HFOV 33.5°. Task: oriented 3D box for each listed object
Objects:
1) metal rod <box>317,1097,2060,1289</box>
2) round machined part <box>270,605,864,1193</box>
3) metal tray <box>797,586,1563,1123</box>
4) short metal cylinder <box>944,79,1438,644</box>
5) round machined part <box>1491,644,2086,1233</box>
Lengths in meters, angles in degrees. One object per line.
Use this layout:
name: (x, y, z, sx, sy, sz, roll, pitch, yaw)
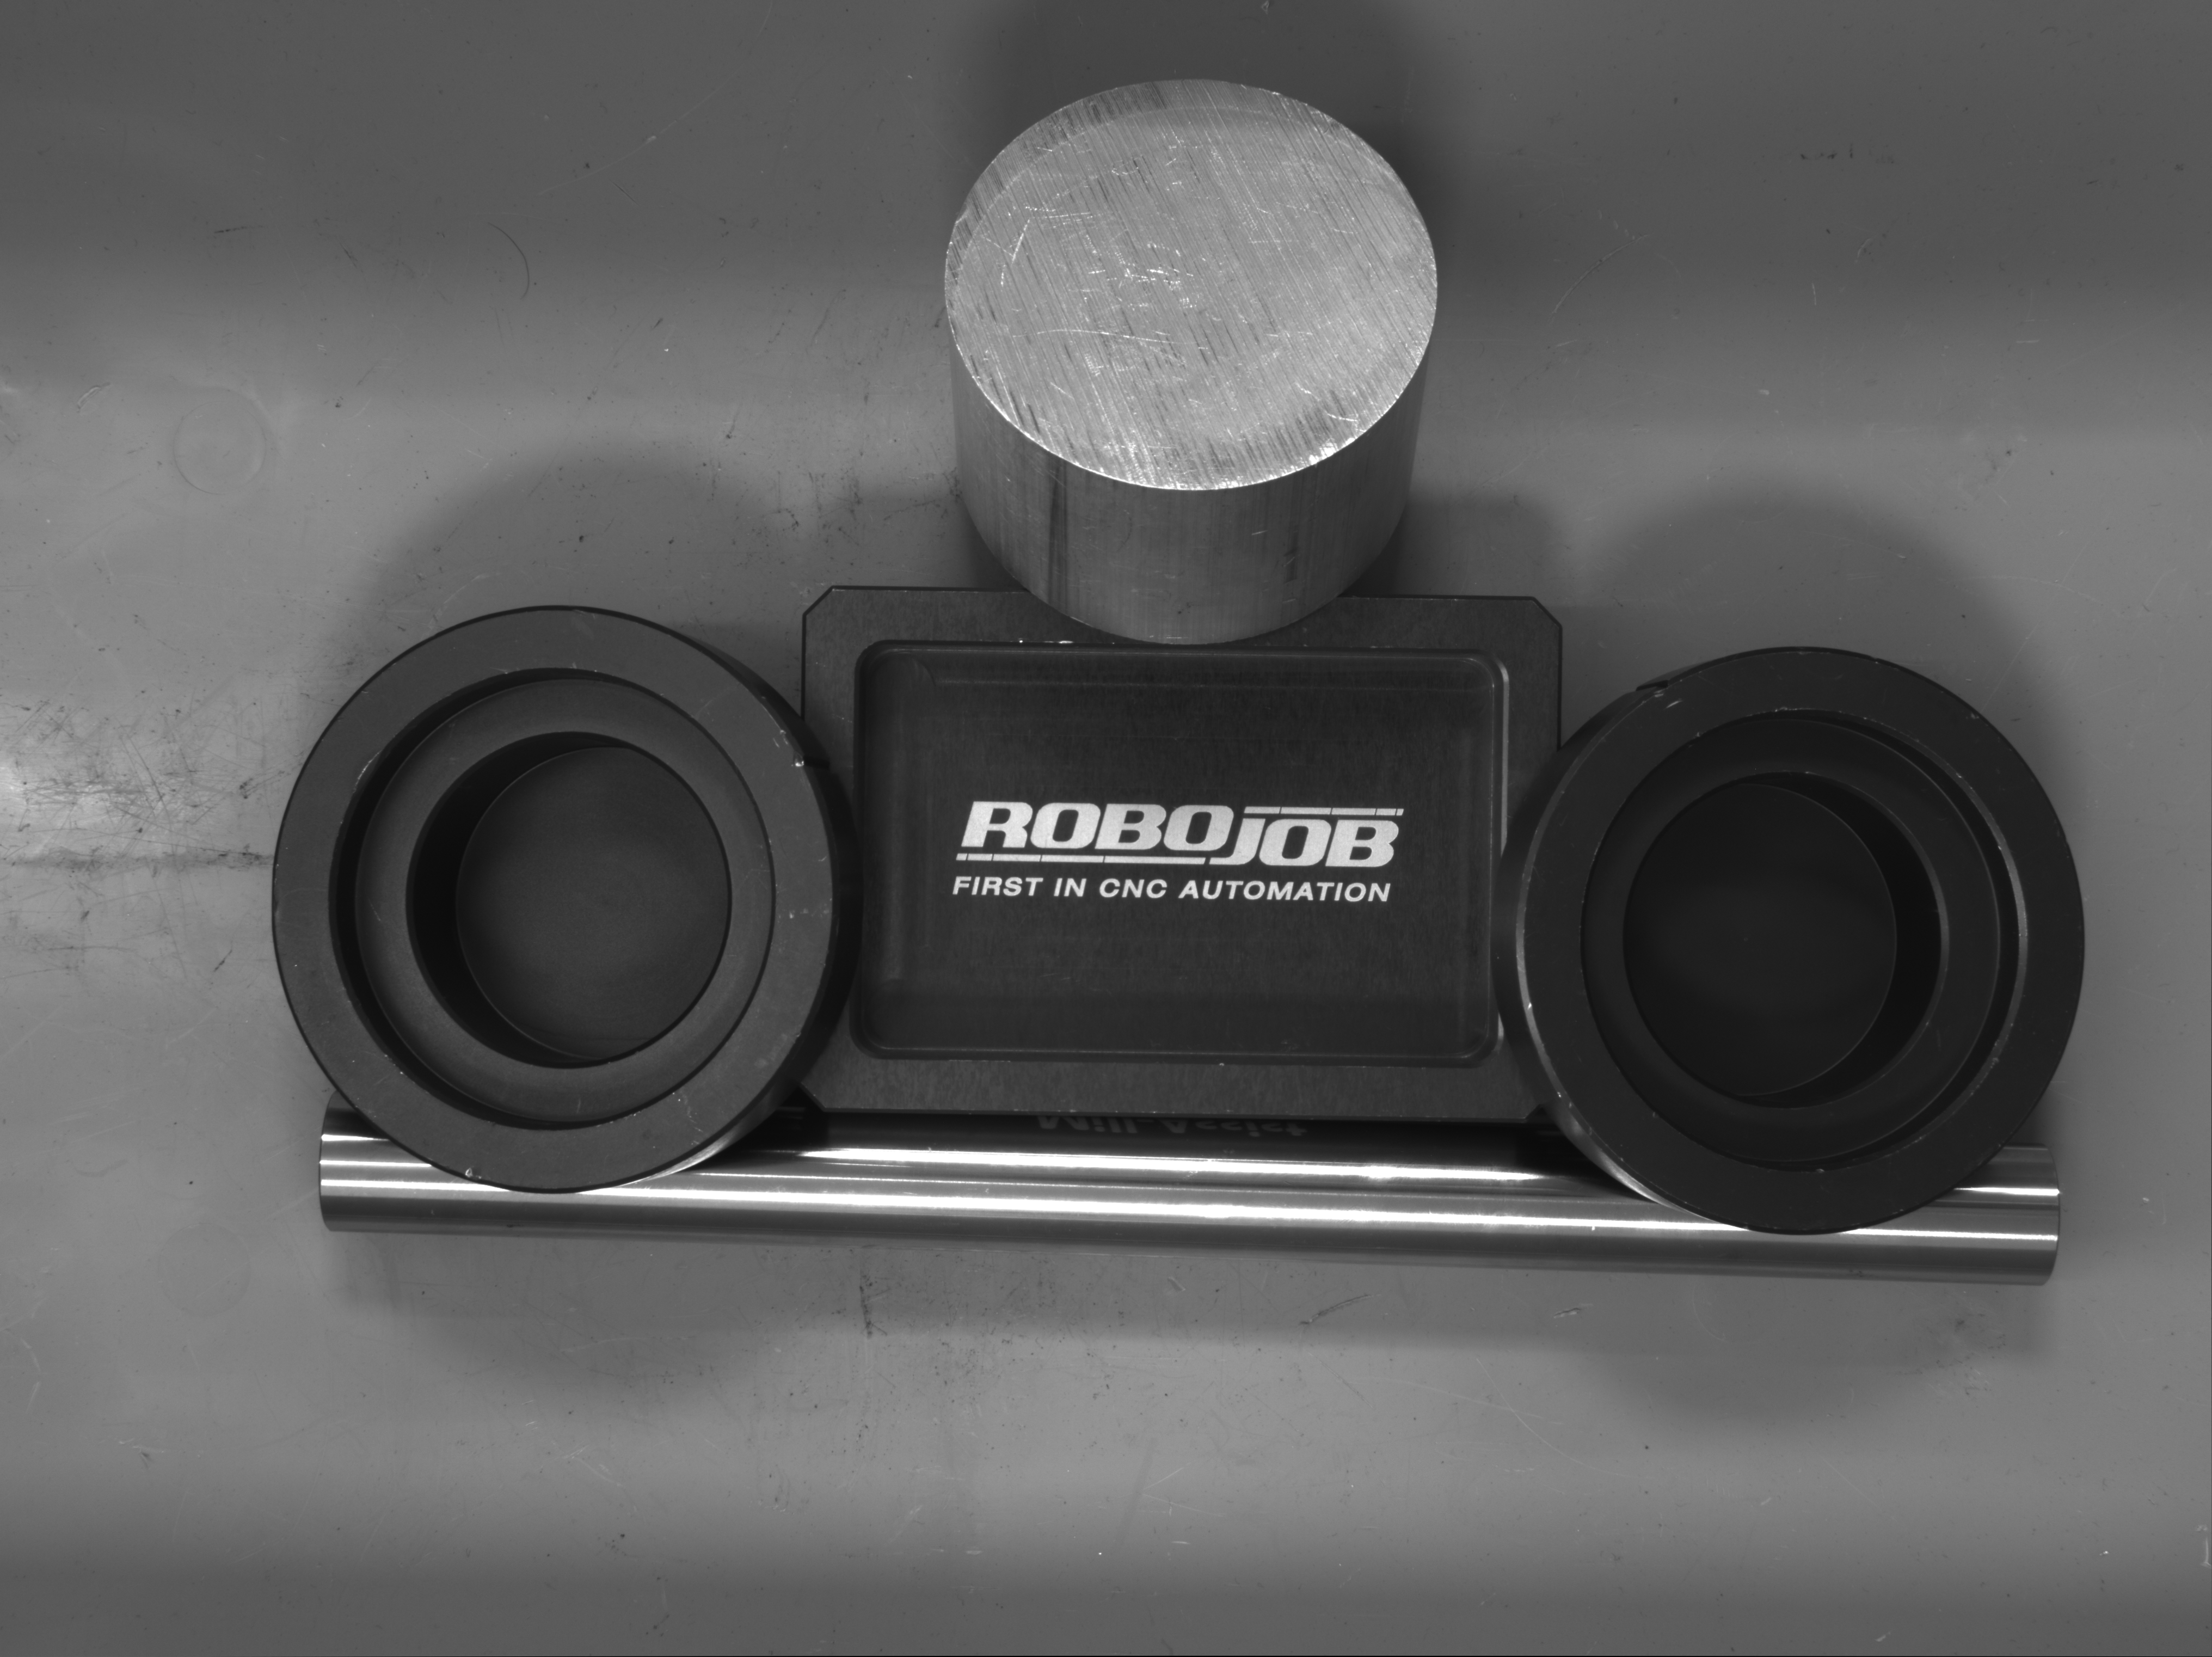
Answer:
metal rod: (0.014, 0.064, 0.644, 0.300, 0.025, 0.025, 2, 90, 0)
round machined part: (-0.089, 0.013, 0.631, 0.098, 0.042, 0.098, 0, 87, 8)
metal tray: (0.013, 0.004, 0.641, 0.130, 0.030, 0.090, 1, 90, 0)
short metal cylinder: (0.014, -0.078, 0.618, 0.080, 0.050, 0.080, 0, 63, 0)
round machined part: (0.114, 0.019, 0.631, 0.098, 0.042, 0.098, 0, 88, -8)
